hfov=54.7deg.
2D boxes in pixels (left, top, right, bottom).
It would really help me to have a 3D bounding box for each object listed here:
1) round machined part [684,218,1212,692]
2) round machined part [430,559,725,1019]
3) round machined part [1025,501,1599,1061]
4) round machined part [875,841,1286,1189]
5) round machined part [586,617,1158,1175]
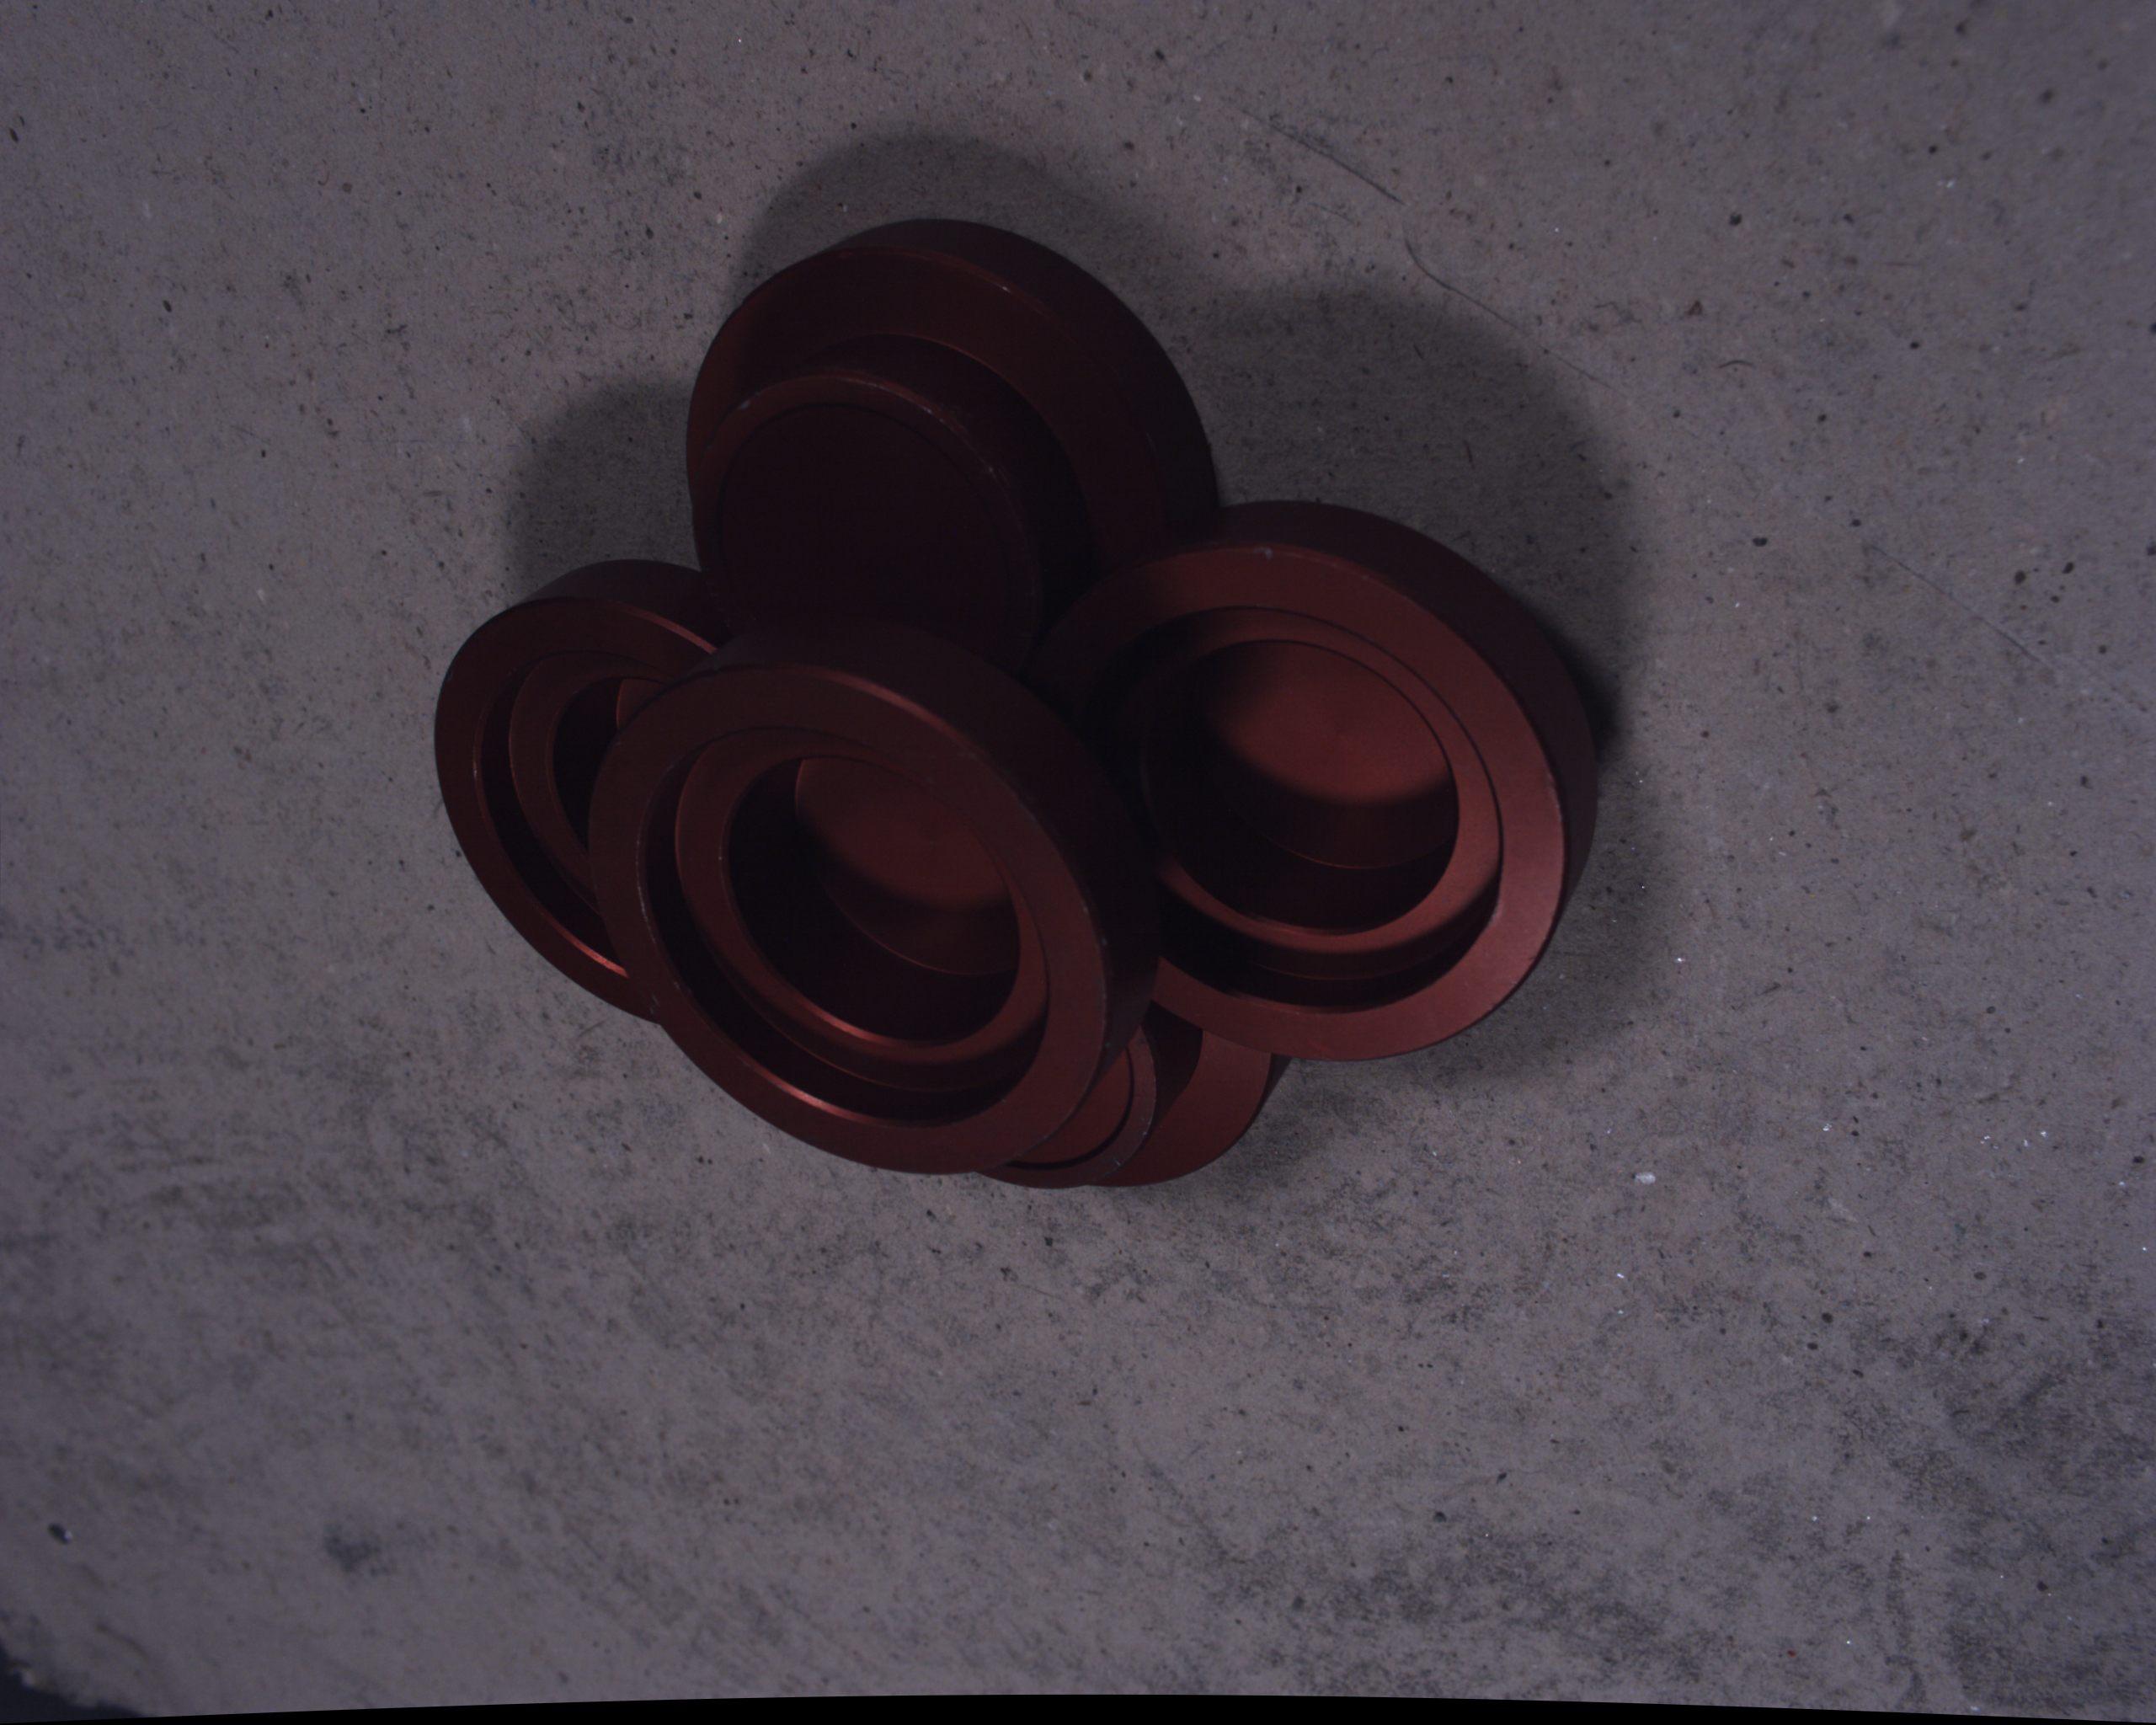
[{"bbox_3d":[-0.029,-0.061,0.373,0.098,0.042,0.097,13,124,20],"label":"round machined part"},{"bbox_3d":[-0.079,-0.017,0.427,0.098,0.042,0.097,13,124,20],"label":"round machined part"},{"bbox_3d":[0.042,-0.017,0.364,0.098,0.042,0.097,13,124,20],"label":"round machined part"},{"bbox_3d":[-0.007,0.026,0.415,0.098,0.042,0.097,13,124,20],"label":"round machined part"},{"bbox_3d":[-0.031,0.002,0.359,0.098,0.042,0.097,13,124,20],"label":"round machined part"}]
